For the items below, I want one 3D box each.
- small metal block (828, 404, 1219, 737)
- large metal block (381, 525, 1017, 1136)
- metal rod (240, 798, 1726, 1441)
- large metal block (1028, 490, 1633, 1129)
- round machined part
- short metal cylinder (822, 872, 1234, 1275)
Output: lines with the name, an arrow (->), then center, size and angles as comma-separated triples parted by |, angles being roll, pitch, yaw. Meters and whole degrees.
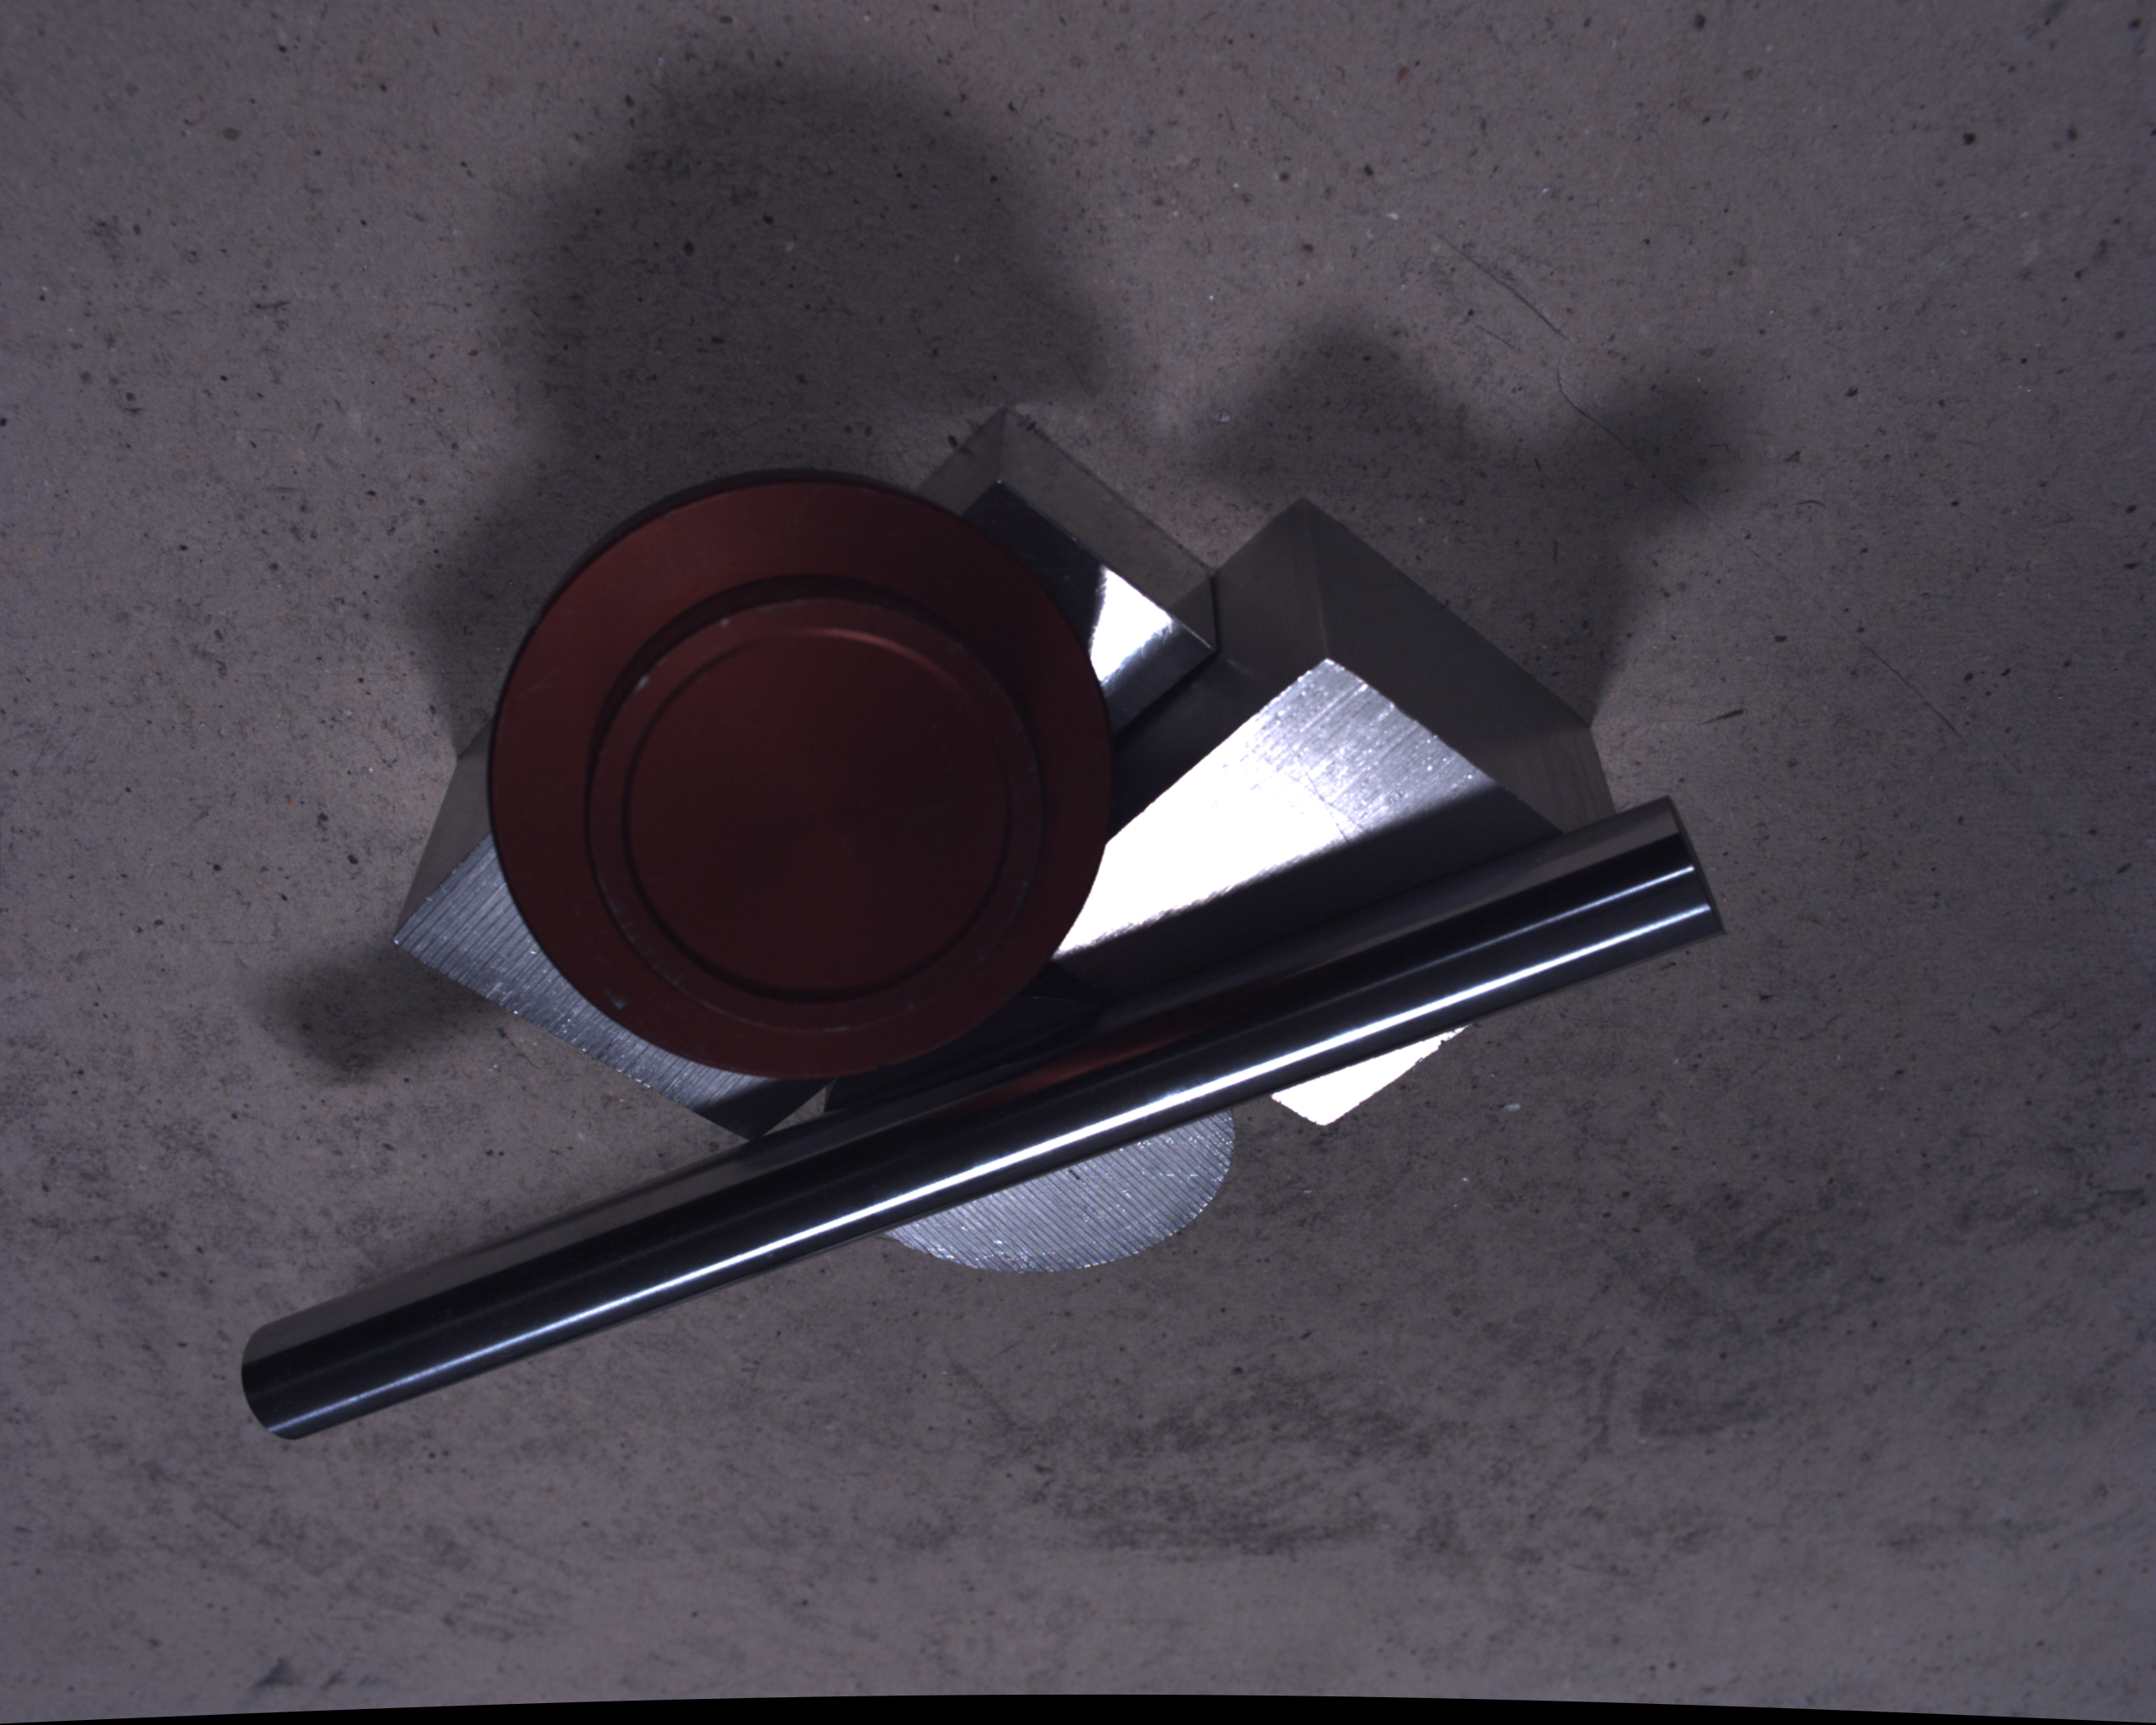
small metal block -> -0.011, -0.044, 0.370 | 0.050, 0.025, 0.050 | 35, 122, -27
large metal block -> -0.066, -0.005, 0.385 | 0.080, 0.050, 0.080 | 35, 122, -26
metal rod -> -0.031, 0.054, 0.389 | 0.300, 0.025, 0.025 | -22, 127, 17
large metal block -> 0.043, -0.007, 0.387 | 0.080, 0.050, 0.080 | 34, 122, -26
round machined part -> -0.042, -0.012, 0.329 | 0.099, 0.042, 0.097 | -3, 105, -11
short metal cylinder -> -0.010, 0.039, 0.425 | 0.081, 0.050, 0.079 | 0, 130, 0
